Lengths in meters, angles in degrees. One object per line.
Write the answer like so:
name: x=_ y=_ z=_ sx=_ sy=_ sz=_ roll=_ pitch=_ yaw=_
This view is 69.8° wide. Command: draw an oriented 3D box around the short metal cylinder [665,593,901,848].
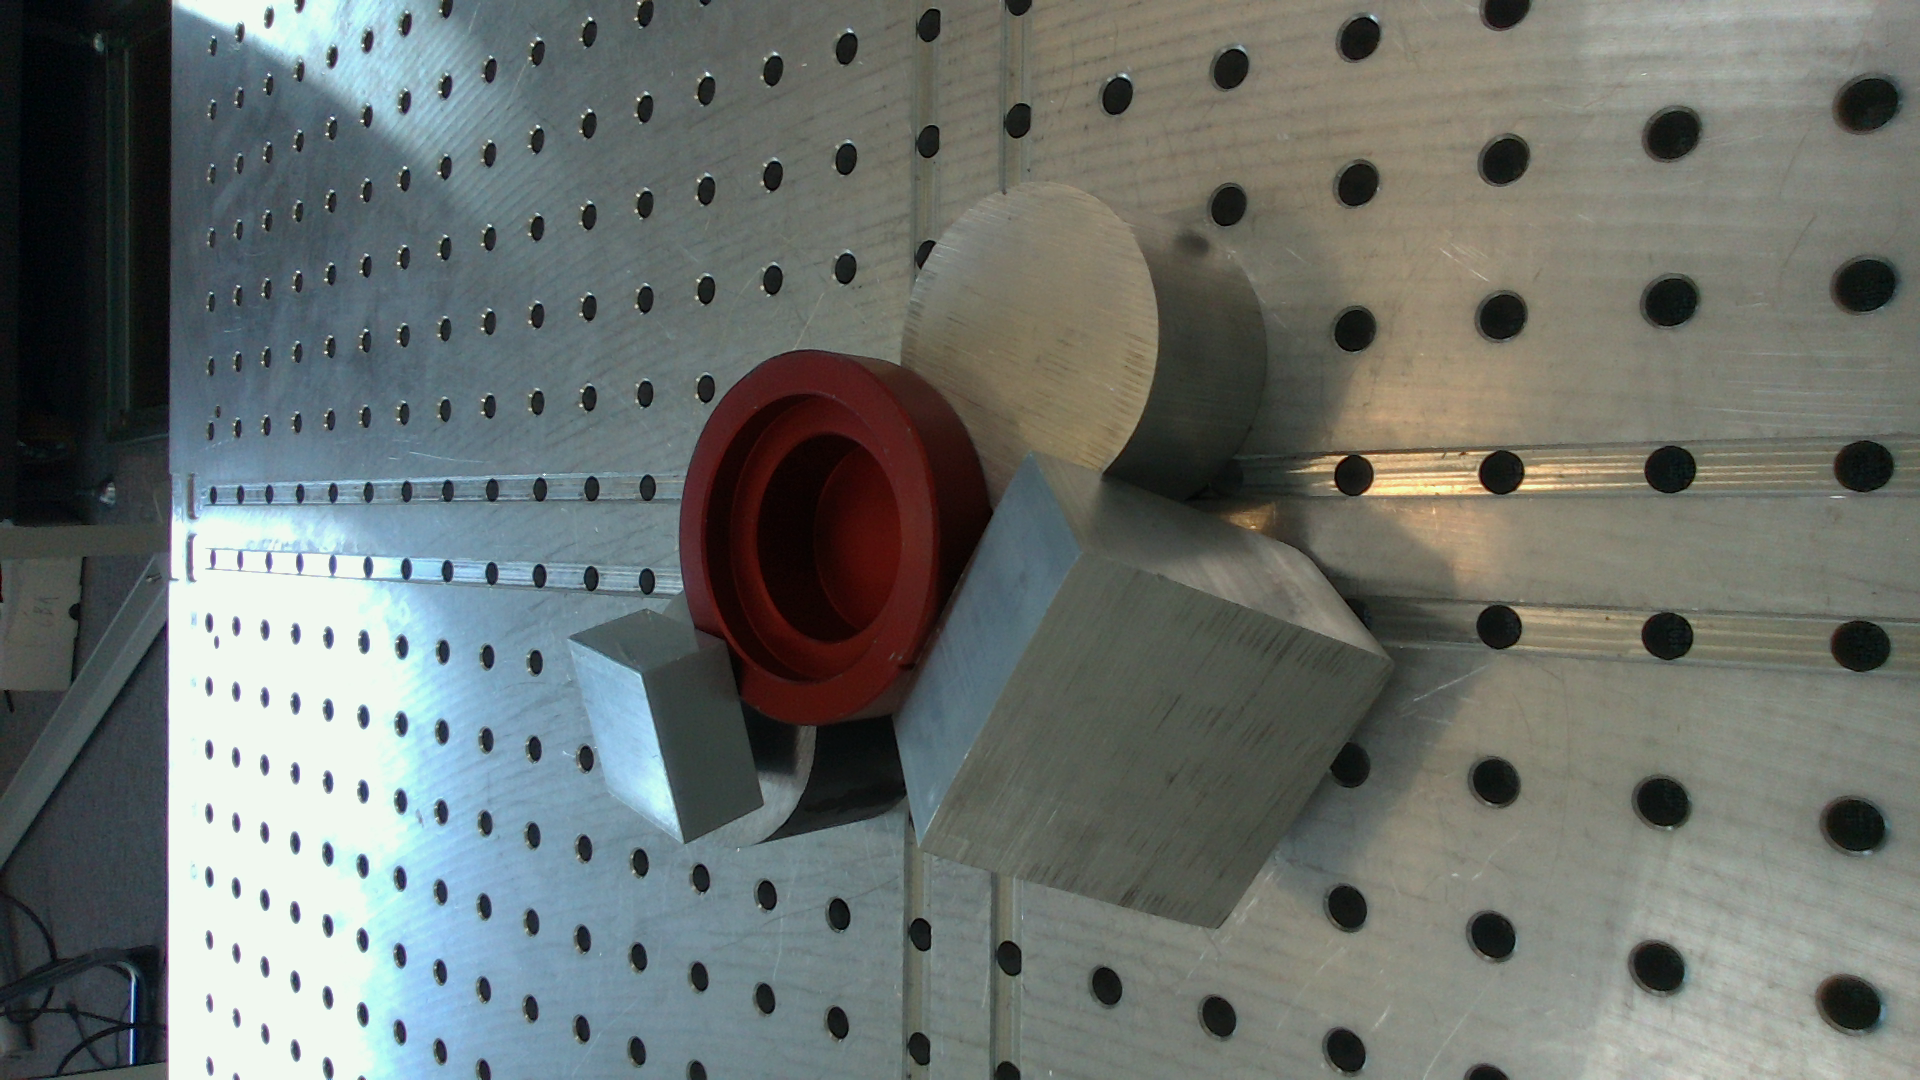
short metal cylinder: x=-0.055 y=0.051 z=0.427 sx=0.080 sy=0.050 sz=0.080 roll=0 pitch=90 yaw=40

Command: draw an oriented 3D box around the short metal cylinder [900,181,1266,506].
short metal cylinder: x=0.031 y=-0.047 z=0.355 sx=0.080 sy=0.050 sz=0.080 roll=0 pitch=90 yaw=40

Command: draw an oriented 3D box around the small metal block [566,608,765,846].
small metal block: x=-0.083 y=0.051 z=0.386 sx=0.050 sy=0.025 sz=0.050 roll=13 pitch=118 yaw=52

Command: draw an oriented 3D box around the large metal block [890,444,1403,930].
large metal block: x=0.039 y=0.035 z=0.320 sx=0.080 sy=0.080 sz=0.050 roll=-63 pitch=21 yaw=21

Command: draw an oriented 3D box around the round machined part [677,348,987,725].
round machined part: x=-0.030 y=-0.001 z=0.373 sx=0.098 sy=0.042 sz=0.098 roll=0 pitch=90 yaw=40
